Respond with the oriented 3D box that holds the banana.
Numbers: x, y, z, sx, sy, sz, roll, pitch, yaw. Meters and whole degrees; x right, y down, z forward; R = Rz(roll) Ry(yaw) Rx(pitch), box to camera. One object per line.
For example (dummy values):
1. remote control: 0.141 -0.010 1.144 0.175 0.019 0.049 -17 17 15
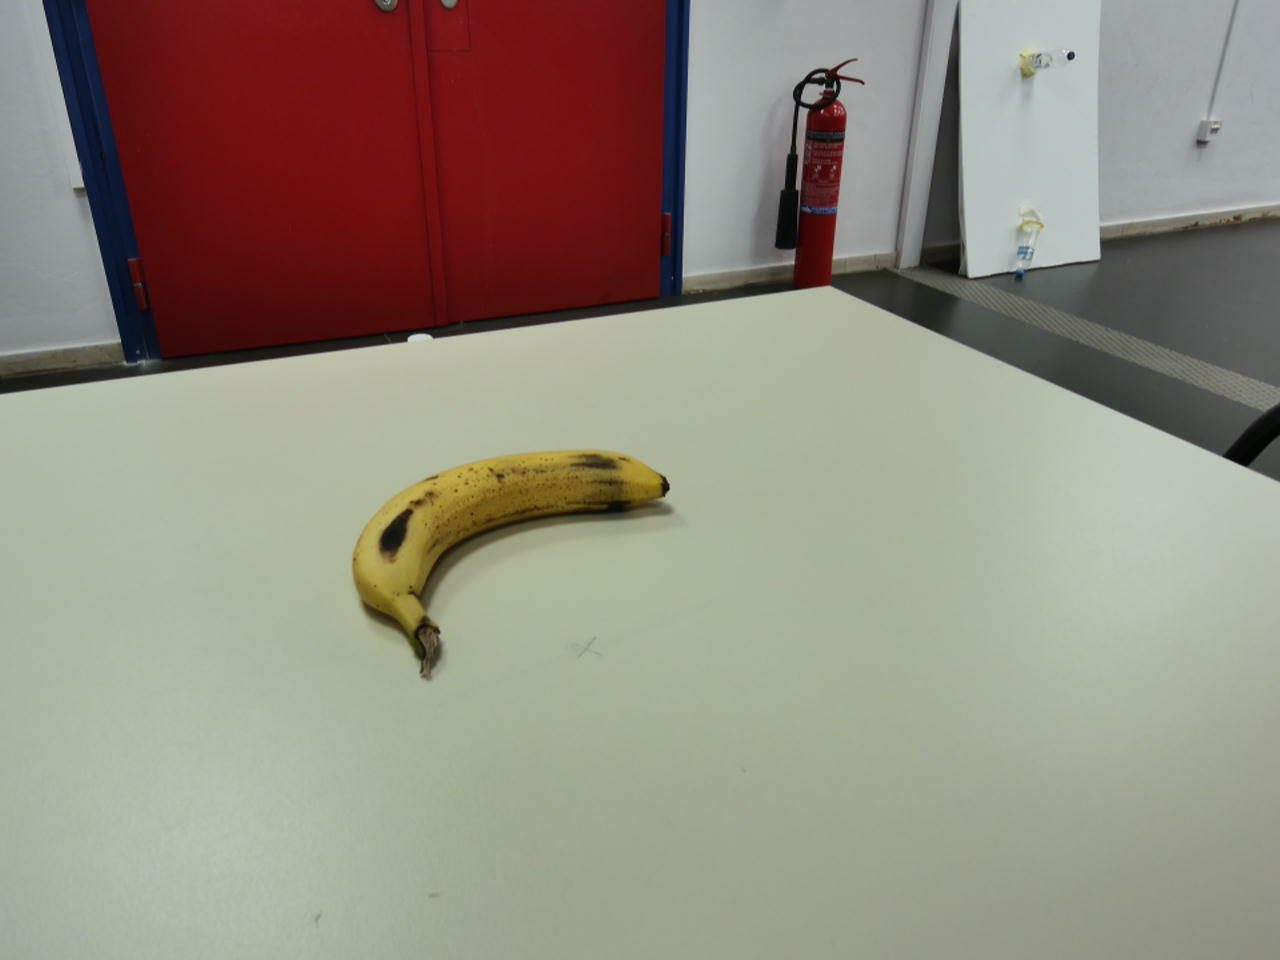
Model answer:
1. banana: -0.074 0.022 0.521 0.097 0.038 0.186 18 30 32
